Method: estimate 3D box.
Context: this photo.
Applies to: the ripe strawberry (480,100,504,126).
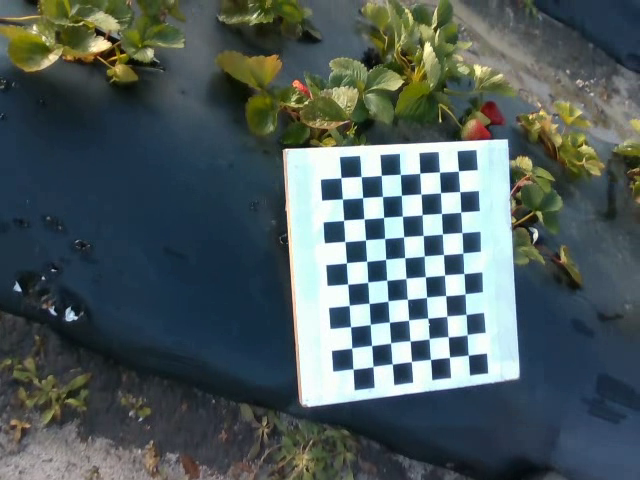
[{"bbox_3d":[0.316,-0.224,1.100,0.064,0.049,0.050,38,-6,-8],"label":"ripe strawberry"}]
